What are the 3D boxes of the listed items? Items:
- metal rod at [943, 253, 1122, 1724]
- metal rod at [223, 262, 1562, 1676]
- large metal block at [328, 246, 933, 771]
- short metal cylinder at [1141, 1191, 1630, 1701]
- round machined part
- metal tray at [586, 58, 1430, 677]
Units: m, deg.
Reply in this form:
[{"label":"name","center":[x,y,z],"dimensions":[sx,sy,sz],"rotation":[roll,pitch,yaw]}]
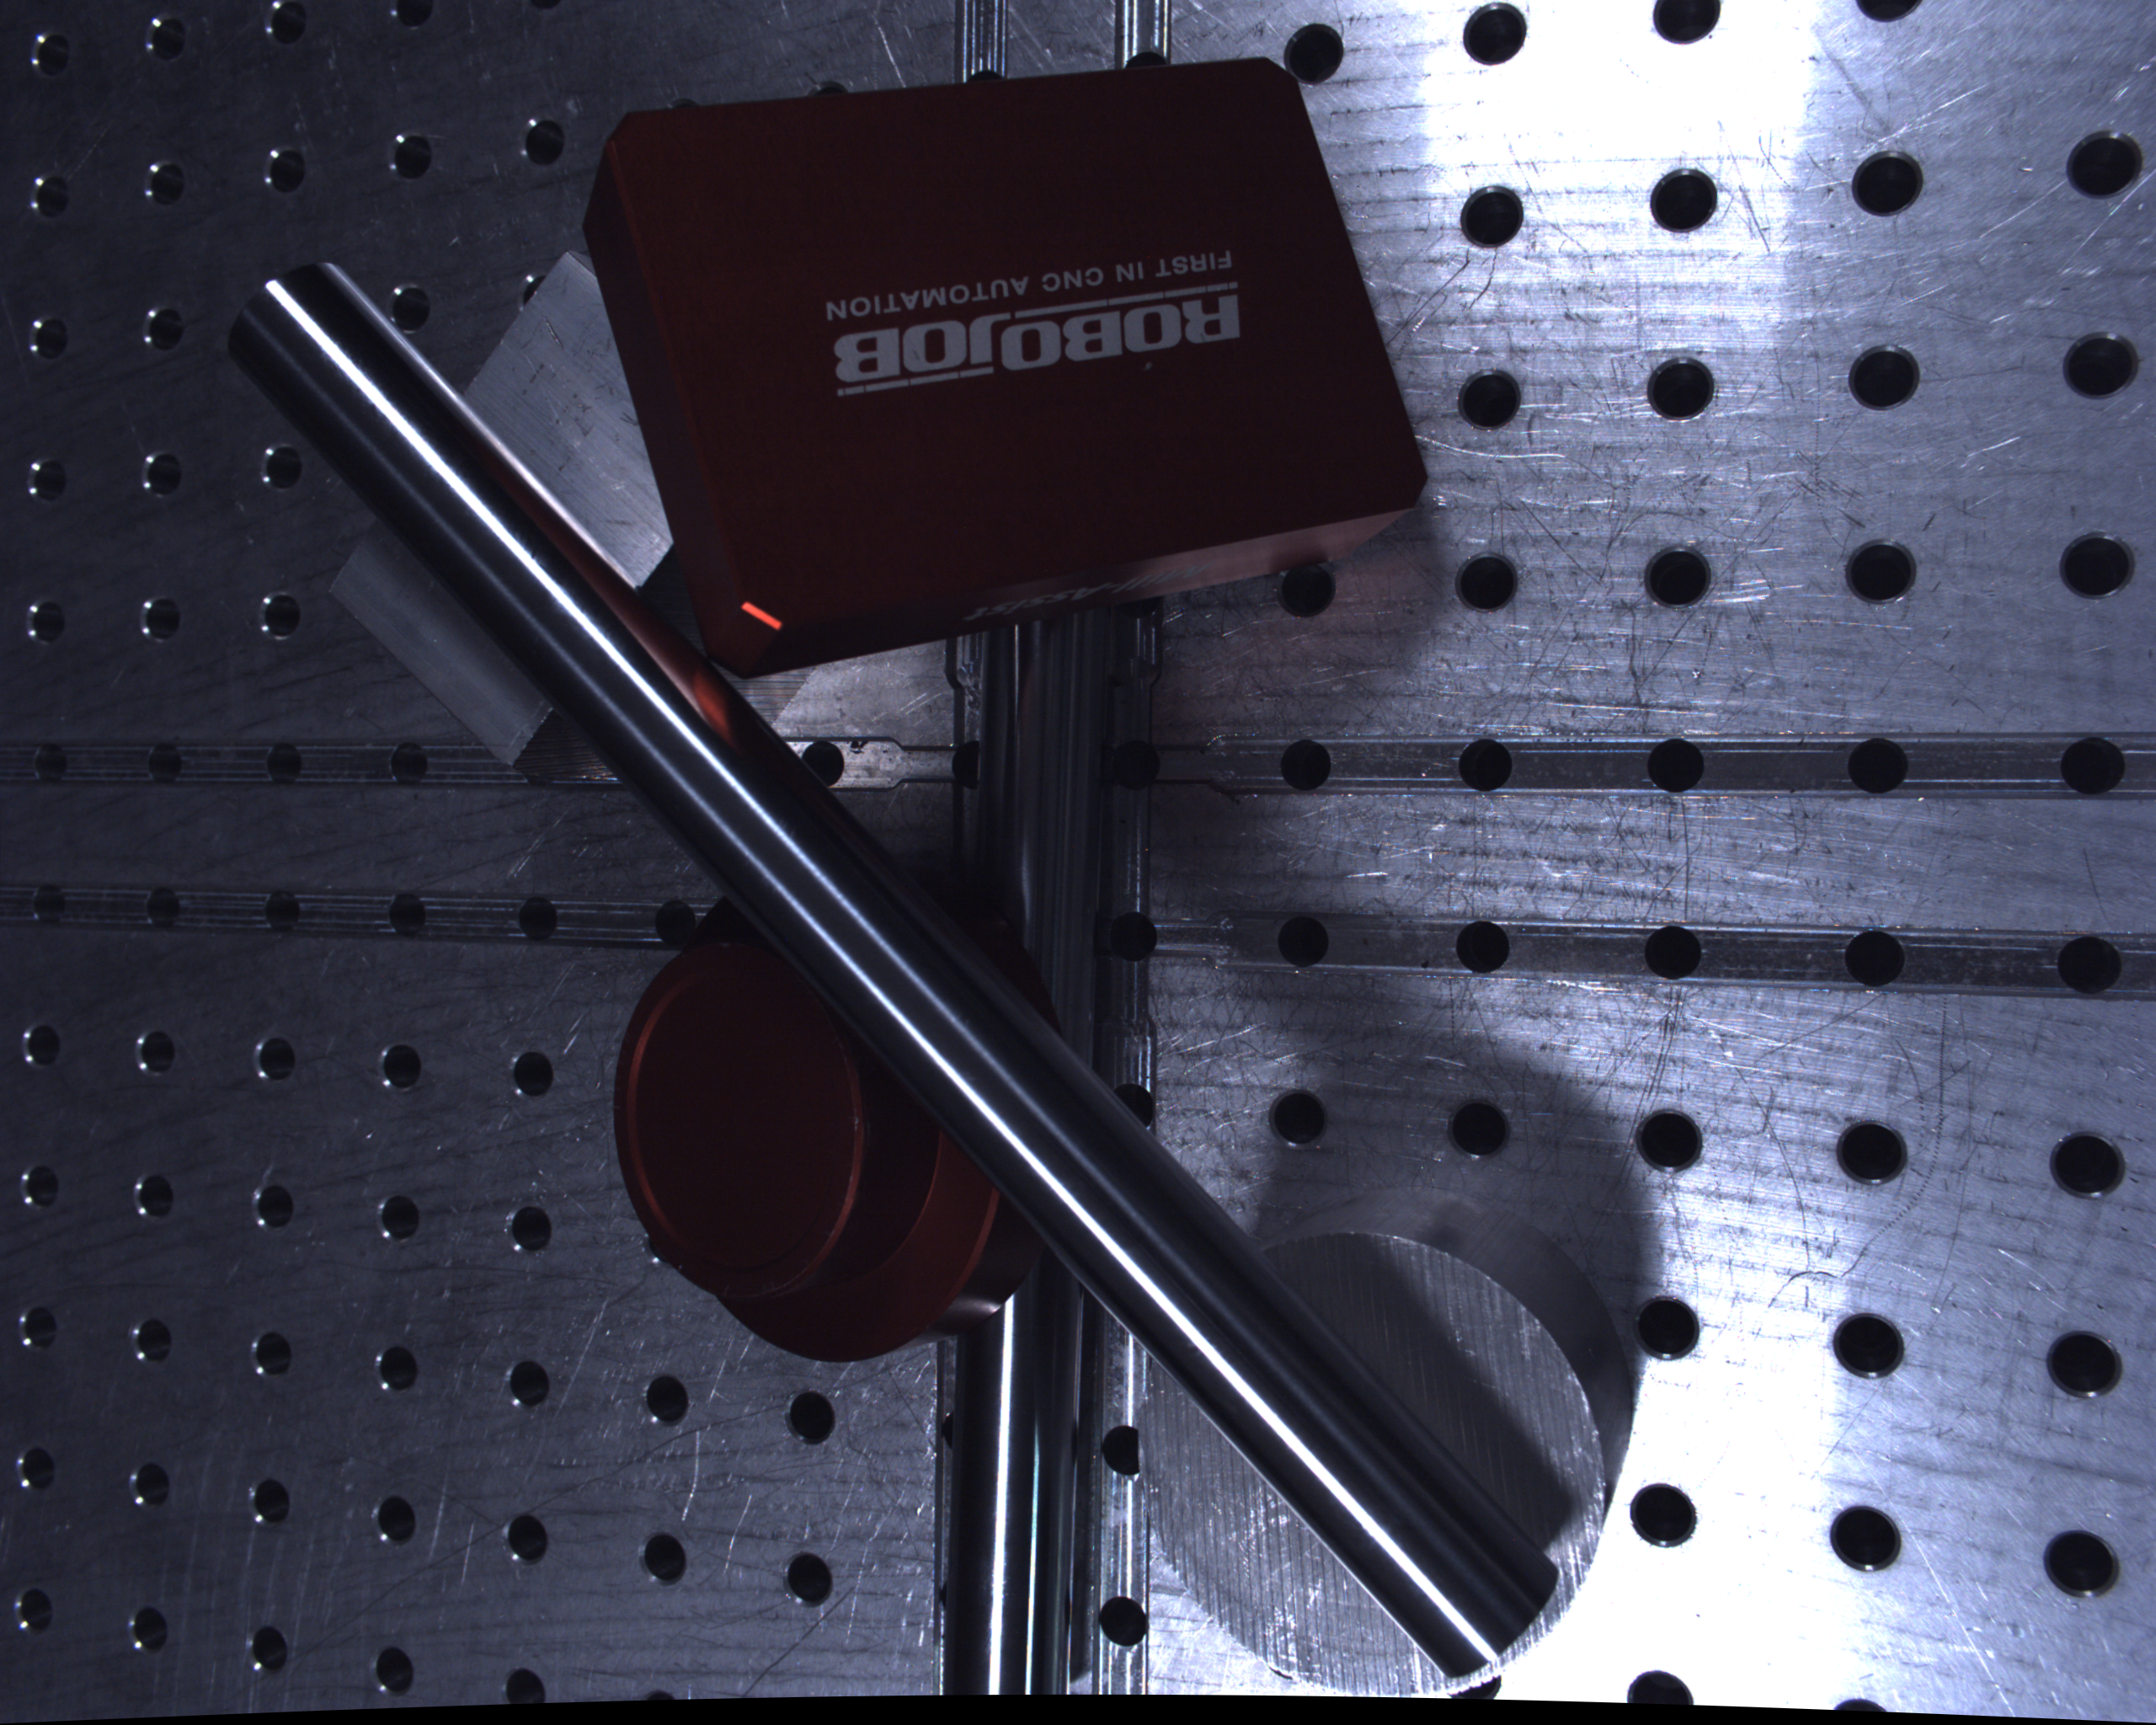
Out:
[{"label":"metal rod","center":[-0.008,0.020,0.414],"dimensions":[0.025,0.025,0.298],"rotation":[3,91,19]},{"label":"metal rod","center":[-0.035,0.013,0.349],"dimensions":[0.300,0.025,0.025],"rotation":[46,104,5]},{"label":"large metal block","center":[-0.084,-0.064,0.413],"dimensions":[0.050,0.080,0.080],"rotation":[43,103,14]},{"label":"short metal cylinder","center":[0.058,0.103,0.379],"dimensions":[0.080,0.050,0.079],"rotation":[0,90,19]},{"label":"round machined part","center":[-0.052,0.049,0.404],"dimensions":[0.098,0.042,0.097],"rotation":[0,90,37]},{"label":"metal tray","center":[-0.011,-0.090,0.371],"dimensions":[0.131,0.030,0.090],"rotation":[-14,83,-23]}]
